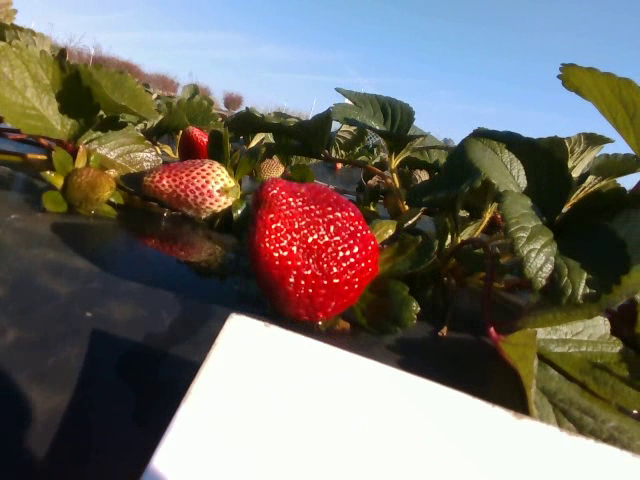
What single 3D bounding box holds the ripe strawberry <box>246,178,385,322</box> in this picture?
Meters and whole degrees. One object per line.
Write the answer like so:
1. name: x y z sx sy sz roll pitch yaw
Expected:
1. ripe strawberry: -0.008 0.002 0.188 0.058 0.066 0.062 -32 -30 -6
